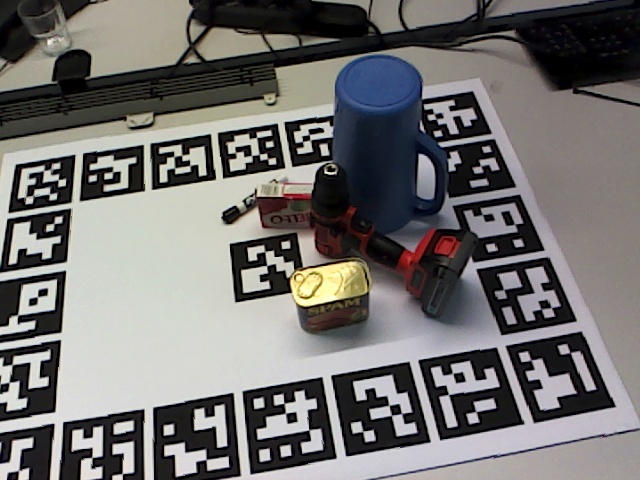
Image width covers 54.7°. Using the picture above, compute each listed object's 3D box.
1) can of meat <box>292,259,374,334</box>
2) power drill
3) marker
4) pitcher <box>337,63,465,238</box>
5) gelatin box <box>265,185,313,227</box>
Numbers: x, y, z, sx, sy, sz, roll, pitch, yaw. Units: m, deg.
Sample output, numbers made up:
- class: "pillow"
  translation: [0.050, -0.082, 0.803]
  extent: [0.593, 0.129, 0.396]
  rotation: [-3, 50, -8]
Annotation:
- class: "can of meat"
  translation: [0.018, 0.077, 0.812]
  extent: [0.102, 0.083, 0.058]
  rotation: [-9, 54, -3]
- class: "power drill"
  translation: [0.073, -0.012, 0.812]
  extent: [0.187, 0.184, 0.057]
  rotation: [24, 64, 12]
- class: "marker"
  translation: [-0.093, -0.072, 0.959]
  extent: [0.121, 0.019, 0.020]
  rotation: [-32, 60, -15]
- class: "pitcher"
  translation: [0.104, -0.117, 0.852]
  extent: [0.190, 0.241, 0.133]
  rotation: [16, 62, 22]
- class: "gelatin box"
  translation: [-0.033, -0.049, 0.910]
  extent: [0.089, 0.073, 0.030]
  rotation: [1, 61, 3]
